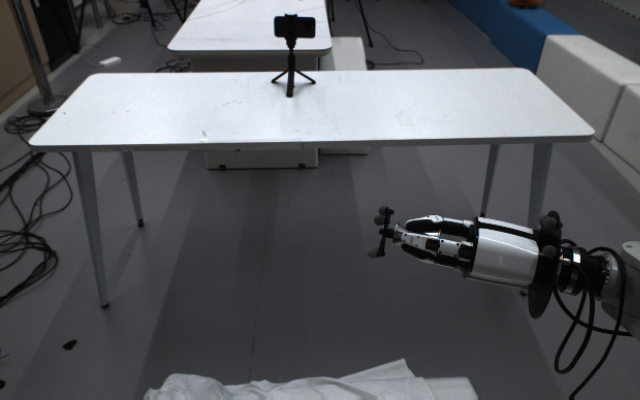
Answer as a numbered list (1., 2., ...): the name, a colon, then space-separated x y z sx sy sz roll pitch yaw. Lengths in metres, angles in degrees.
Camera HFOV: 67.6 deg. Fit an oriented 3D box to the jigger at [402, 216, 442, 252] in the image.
1. jigger: 0.157 0.057 0.753 0.071 0.043 0.043 10 35 16
